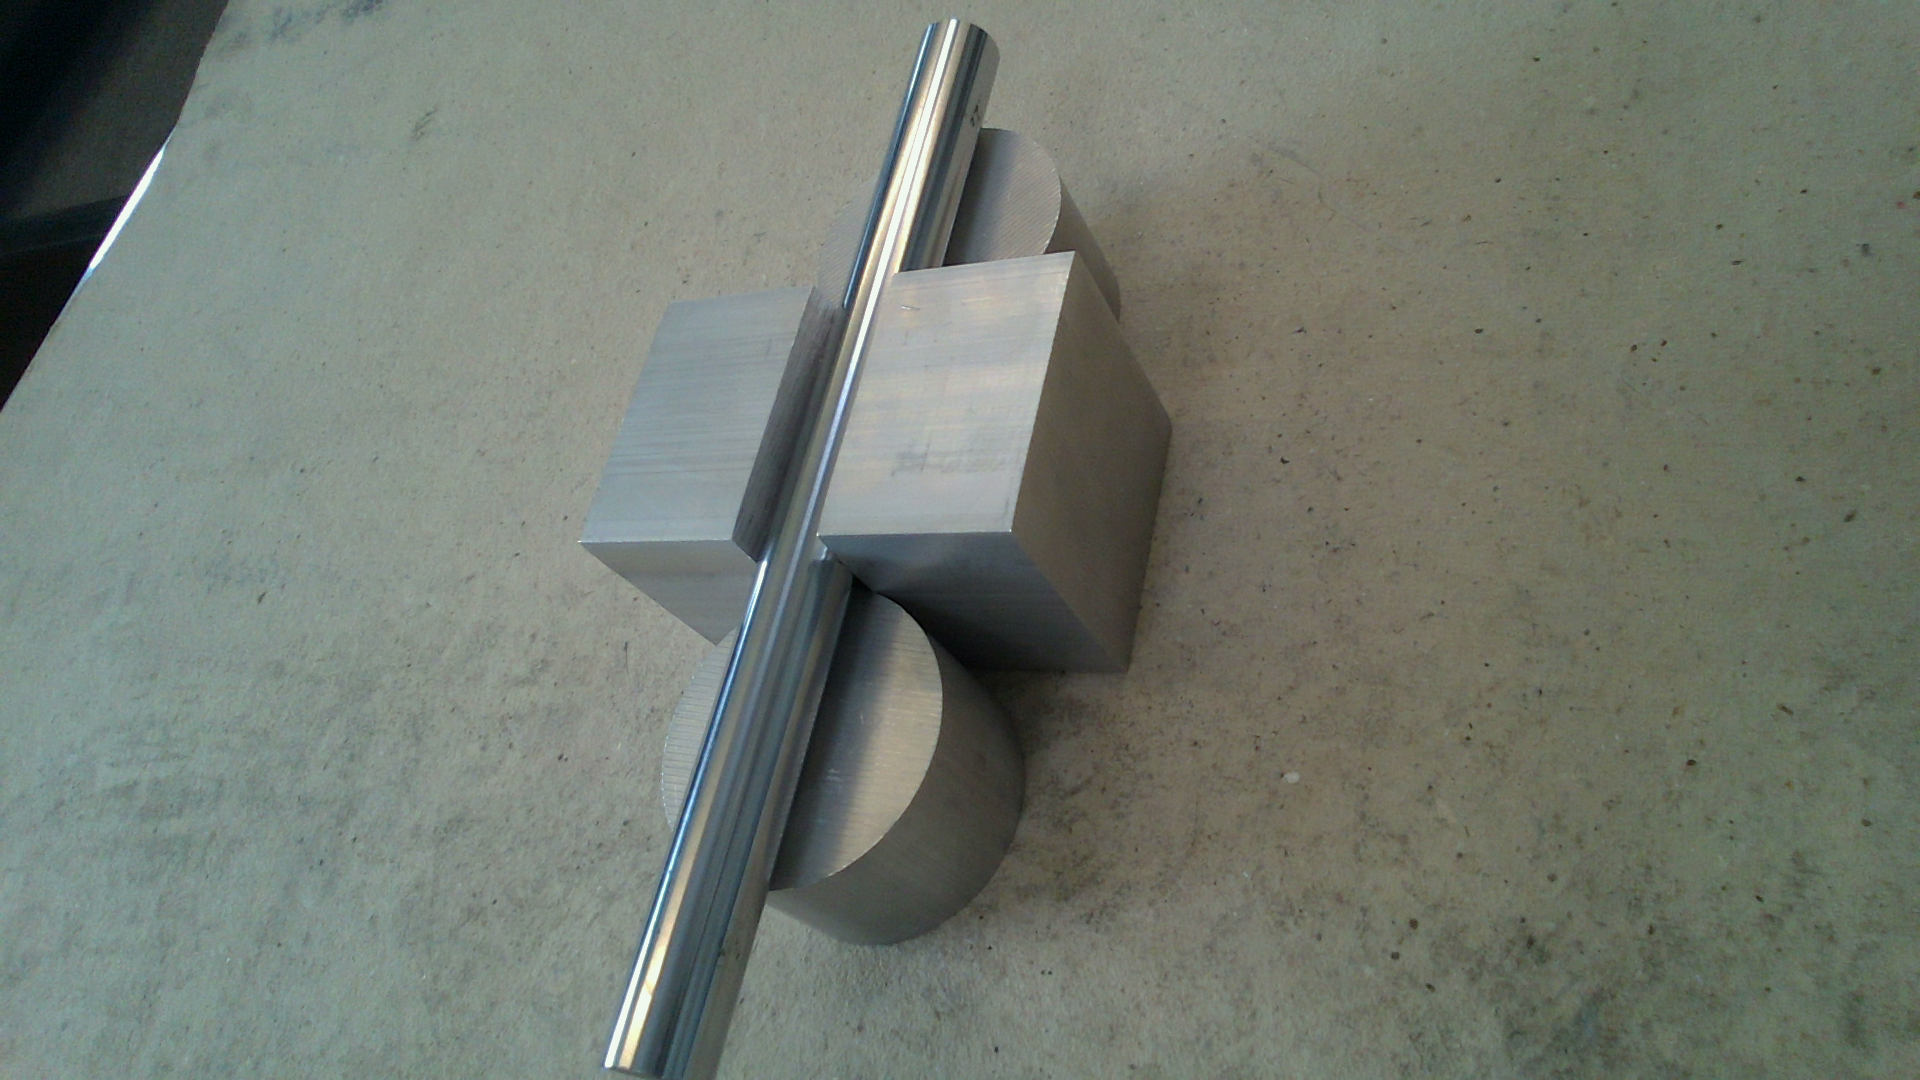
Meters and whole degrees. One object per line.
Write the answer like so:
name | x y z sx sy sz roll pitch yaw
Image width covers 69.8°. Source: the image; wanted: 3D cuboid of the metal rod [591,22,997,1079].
metal rod | -0.034 -0.017 0.357 0.025 0.025 0.300 -1 61 28

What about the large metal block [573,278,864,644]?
large metal block | -0.054 -0.016 0.397 0.050 0.080 0.080 -1 61 28

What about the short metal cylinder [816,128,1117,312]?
short metal cylinder | 0.003 -0.079 0.425 0.080 0.050 0.080 -14 55 21

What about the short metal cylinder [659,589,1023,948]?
short metal cylinder | -0.030 0.059 0.358 0.080 0.050 0.080 -14 55 21

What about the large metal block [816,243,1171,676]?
large metal block | 0.014 -0.018 0.362 0.050 0.080 0.080 -1 61 28
